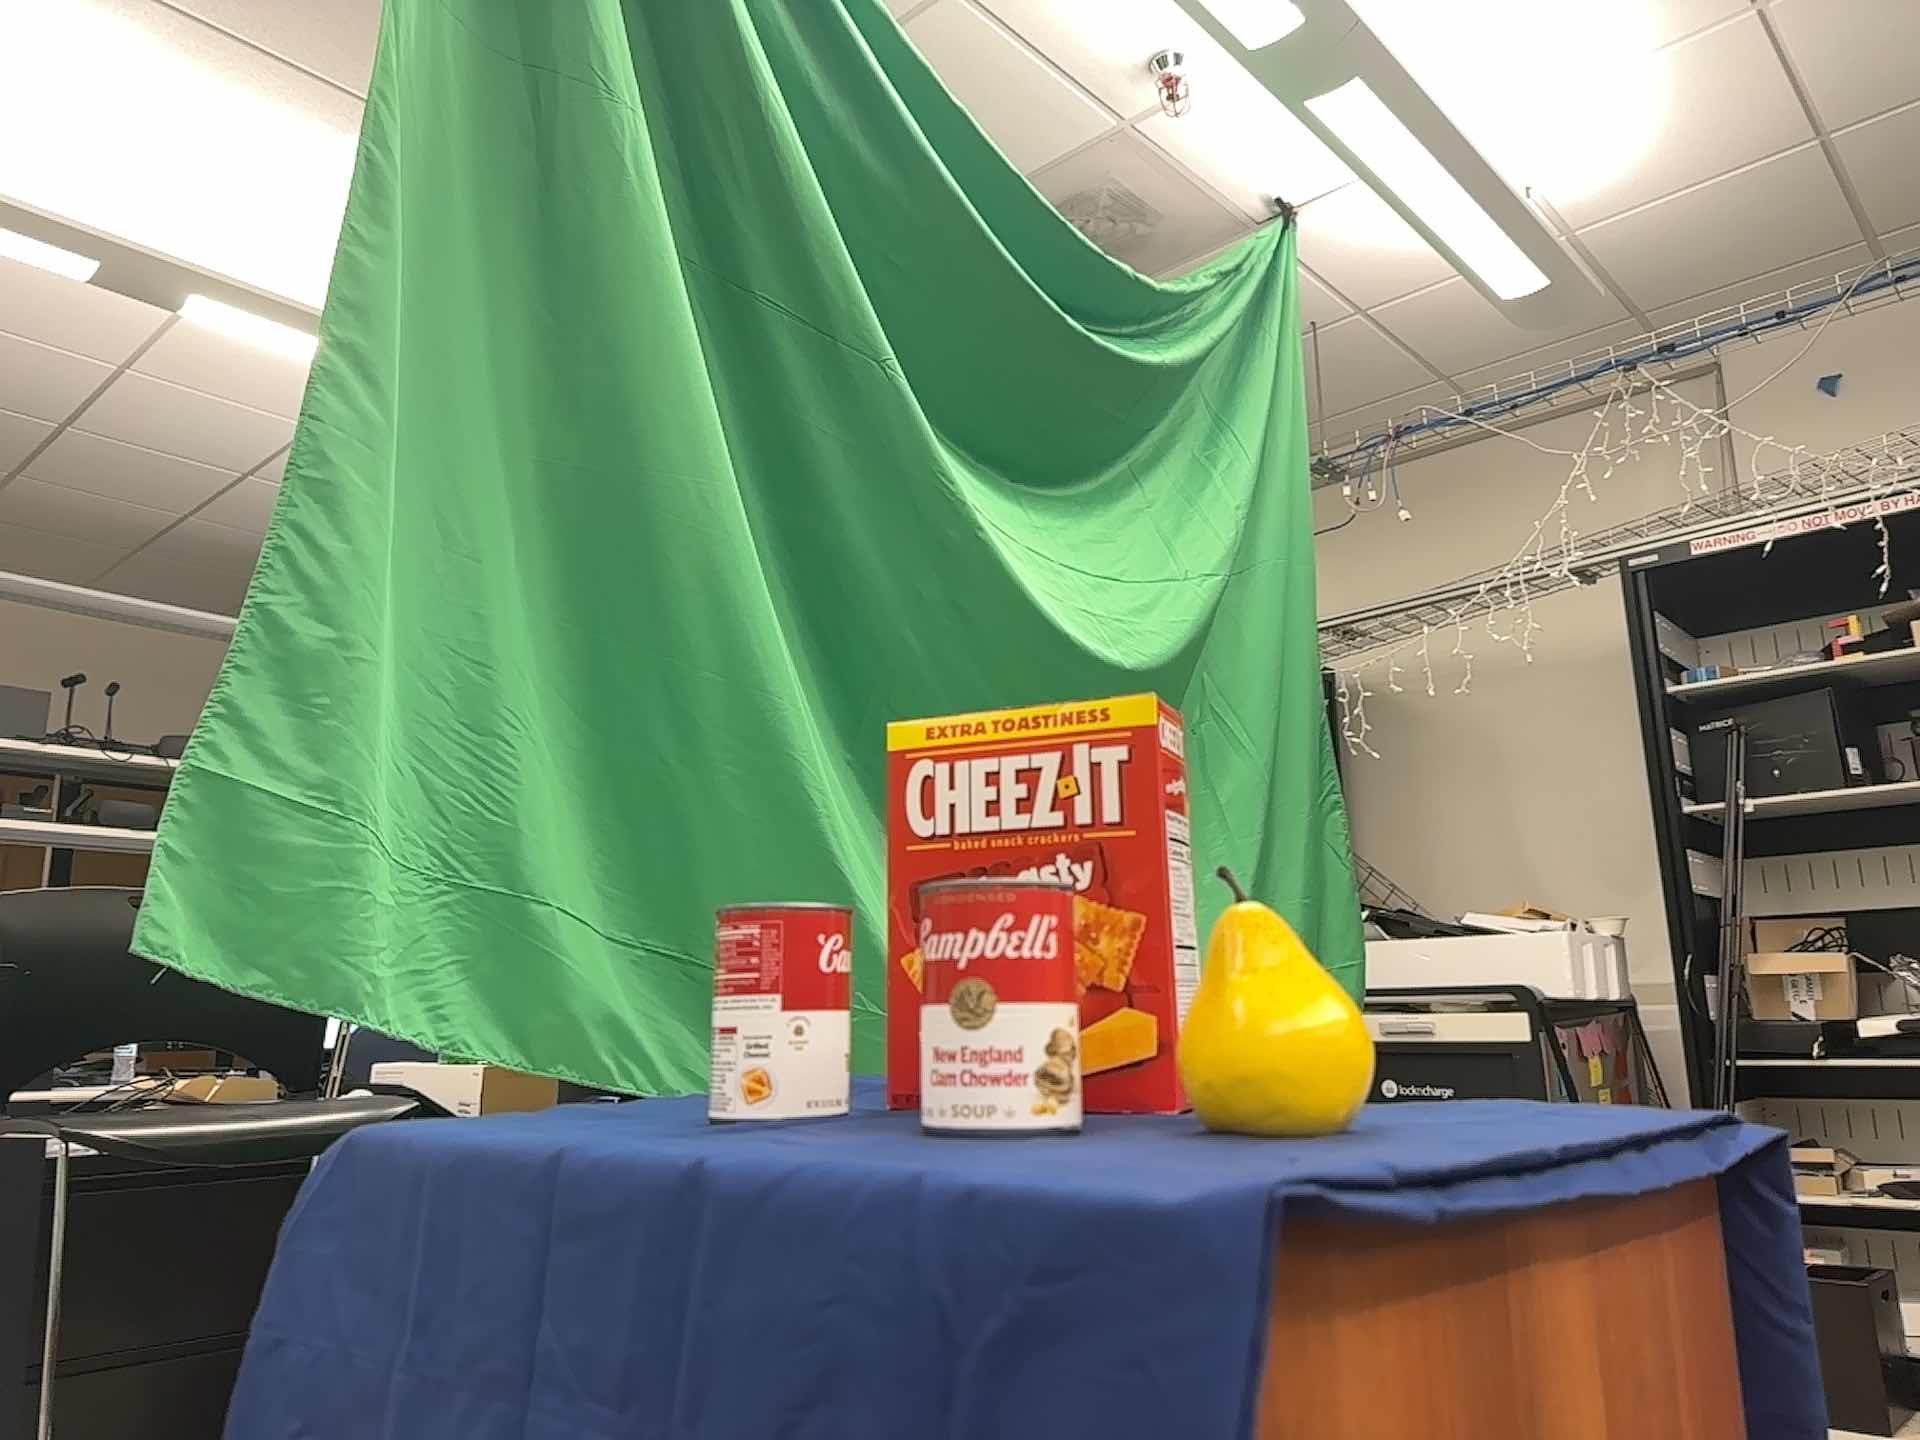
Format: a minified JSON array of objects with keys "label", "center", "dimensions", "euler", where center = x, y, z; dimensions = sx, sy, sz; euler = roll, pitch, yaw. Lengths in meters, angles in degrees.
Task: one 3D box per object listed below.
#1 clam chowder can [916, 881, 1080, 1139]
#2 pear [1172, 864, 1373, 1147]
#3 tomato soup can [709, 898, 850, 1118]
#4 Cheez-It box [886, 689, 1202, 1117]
[{"label":"clam chowder can","center":[0.016,0.123,0.573],"dimensions":[0.068,0.102,0.068],"euler":[-1,-12,0]},{"label":"pear","center":[0.125,0.114,0.547],"dimensions":[0.080,0.111,0.080],"euler":[0,-10,0]},{"label":"tomato soup can","center":[-0.088,0.140,0.657],"dimensions":[0.067,0.102,0.067],"euler":[0,-13,0]},{"label":"Cheez-It box","center":[0.045,0.103,0.750],"dimensions":[0.159,0.214,0.062],"euler":[-6,-12,24]}]
